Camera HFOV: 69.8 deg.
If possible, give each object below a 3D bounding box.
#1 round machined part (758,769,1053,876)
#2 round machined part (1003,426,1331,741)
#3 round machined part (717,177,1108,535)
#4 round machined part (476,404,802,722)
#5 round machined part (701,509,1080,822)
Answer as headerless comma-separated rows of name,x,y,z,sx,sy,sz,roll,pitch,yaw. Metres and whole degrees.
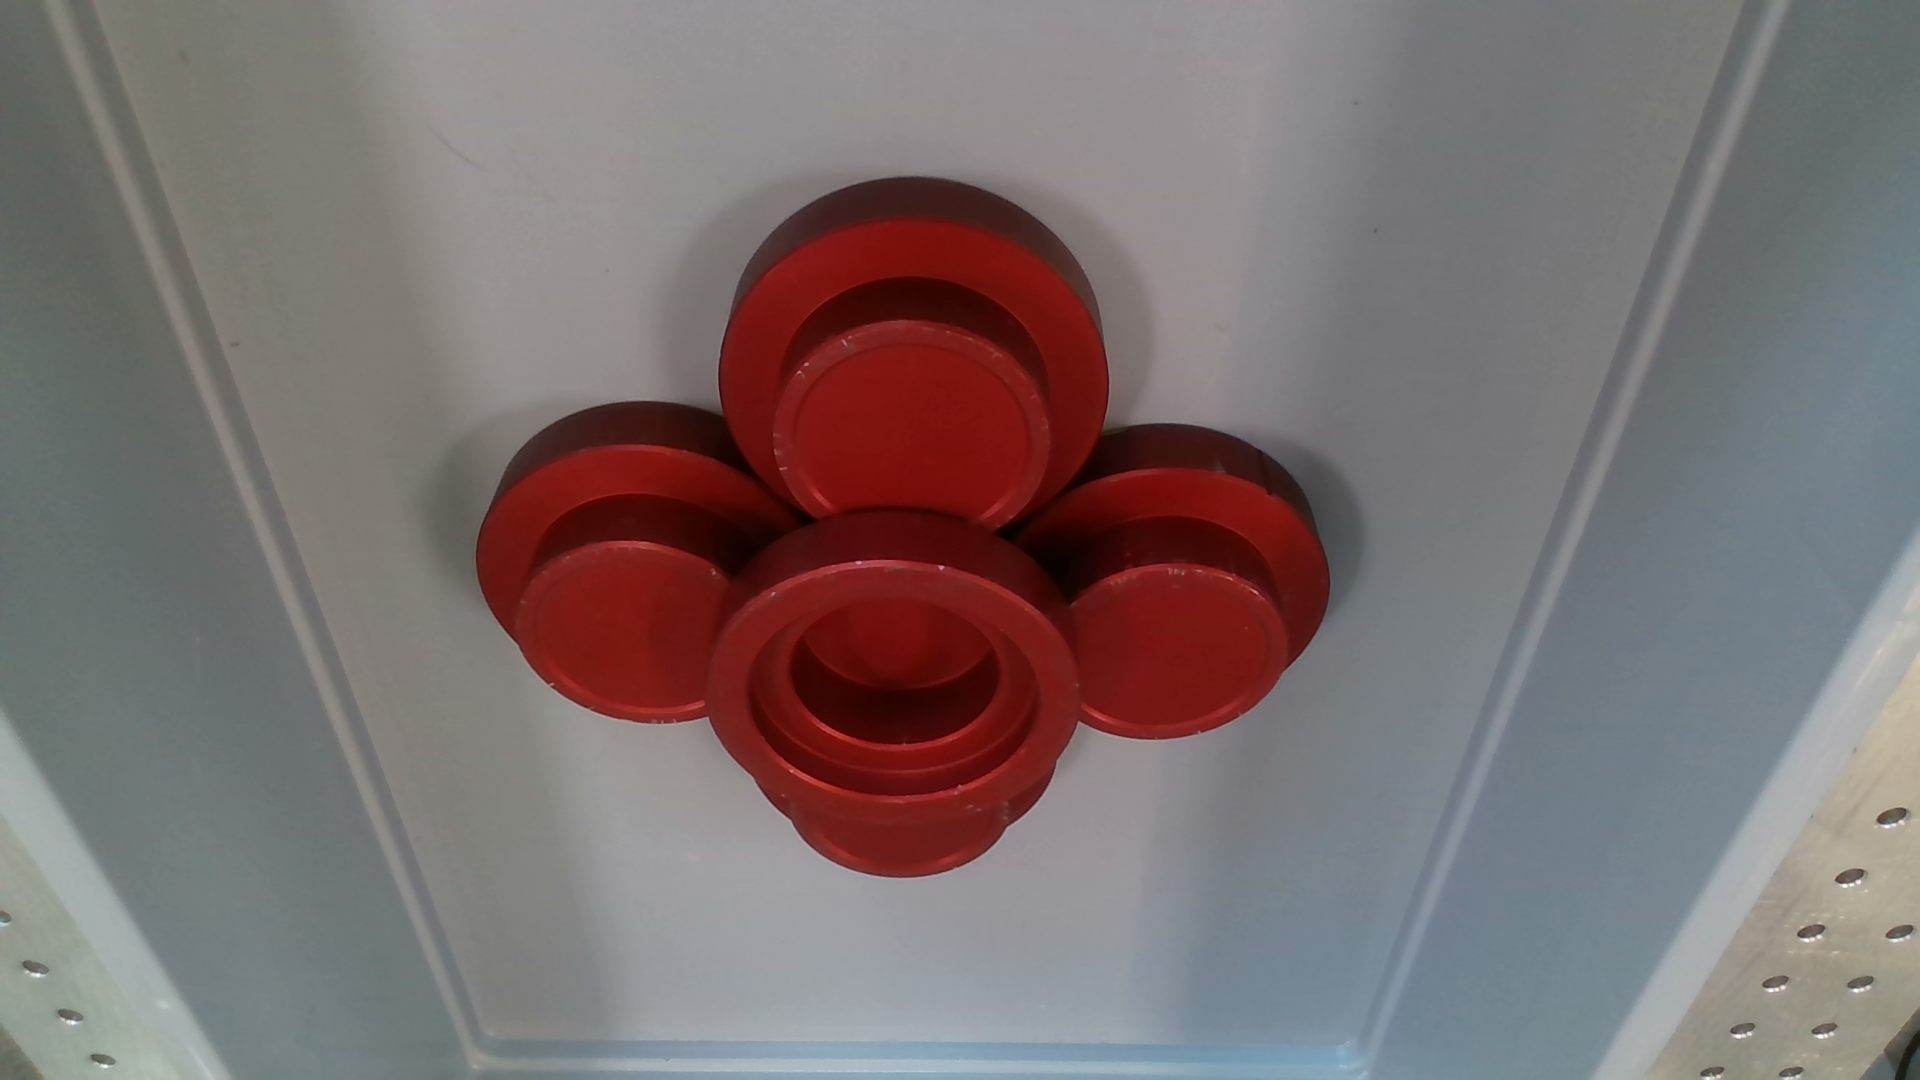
round machined part,-0.019,0.068,0.433,0.098,0.042,0.098,0,130,0
round machined part,0.056,0.019,0.391,0.098,0.042,0.098,0,130,0
round machined part,-0.012,-0.036,0.345,0.098,0.042,0.098,0,130,0
round machined part,-0.086,0.013,0.387,0.098,0.042,0.098,-1,131,-1
round machined part,-0.018,0.029,0.373,0.098,0.042,0.098,0,130,0
